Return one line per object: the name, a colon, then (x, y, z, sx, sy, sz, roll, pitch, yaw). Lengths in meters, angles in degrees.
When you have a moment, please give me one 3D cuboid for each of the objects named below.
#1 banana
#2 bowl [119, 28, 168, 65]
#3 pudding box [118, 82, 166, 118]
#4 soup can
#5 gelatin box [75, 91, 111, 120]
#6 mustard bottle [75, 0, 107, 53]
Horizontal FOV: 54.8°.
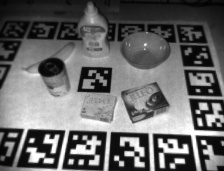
banana: (-0.214, -0.109, 0.732, 0.198, 0.039, 0.073, -39, 53, -23)
bowl: (0.104, -0.122, 0.729, 0.161, 0.055, 0.161, -1, 54, 2)
pudding box: (0.085, 0.034, 0.627, 0.114, 0.039, 0.089, -18, 62, -11)
soup can: (-0.181, -0.040, 0.633, 0.068, 0.102, 0.067, 1, 53, 0)
gelatin box: (-0.052, 0.056, 0.619, 0.089, 0.030, 0.073, 7, 59, 7)
mustard bottle: (-0.068, -0.189, 0.678, 0.096, 0.192, 0.058, 1, 52, 3)
